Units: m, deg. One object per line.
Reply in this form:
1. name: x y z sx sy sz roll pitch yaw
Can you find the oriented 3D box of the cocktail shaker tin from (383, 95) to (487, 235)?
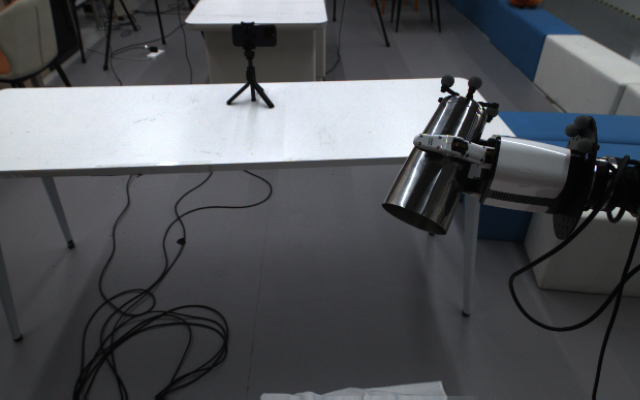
1. cocktail shaker tin: 0.162 -0.054 0.646 0.093 0.093 0.170 21 81 25
